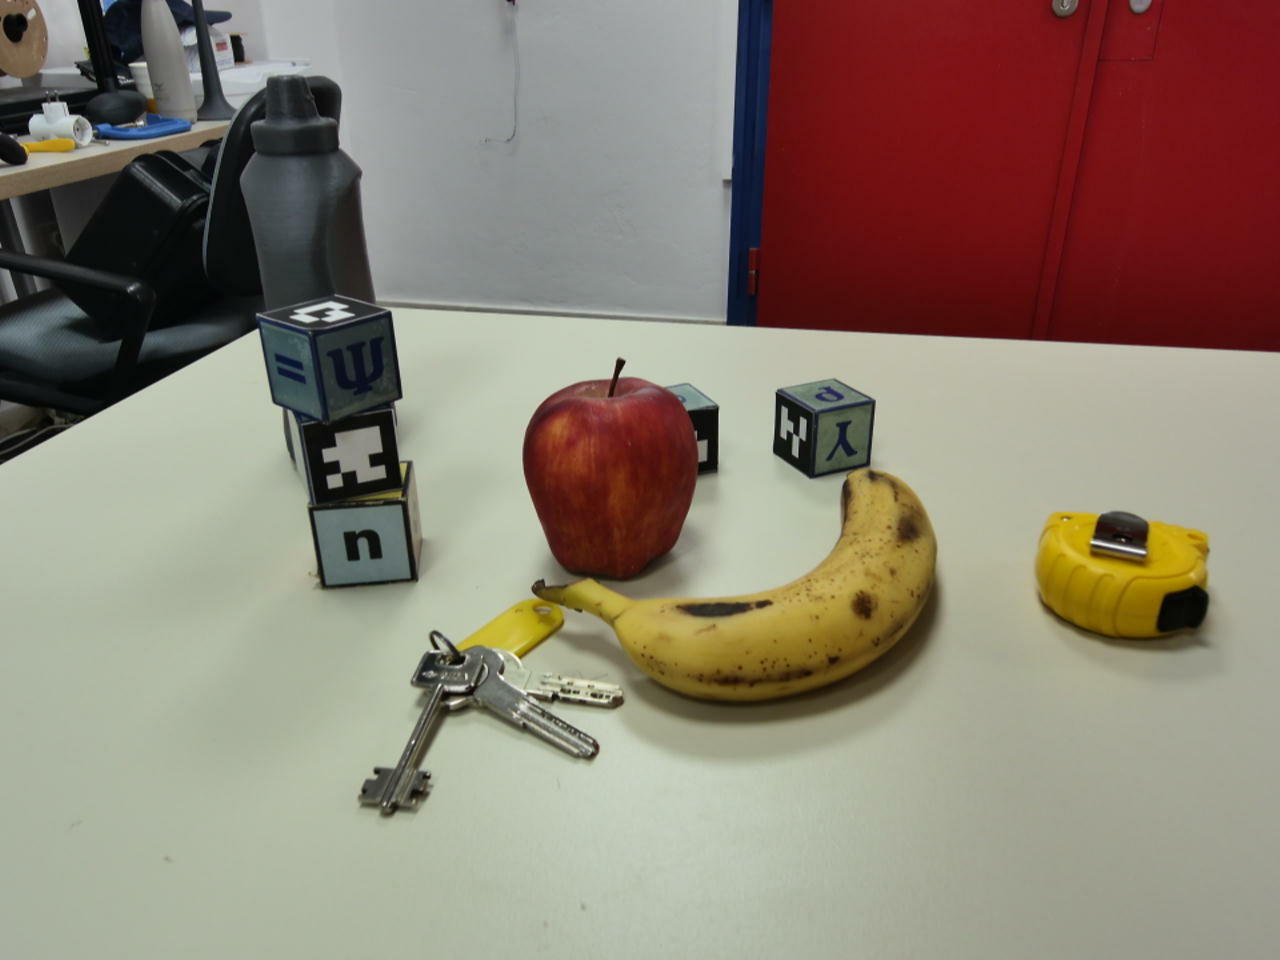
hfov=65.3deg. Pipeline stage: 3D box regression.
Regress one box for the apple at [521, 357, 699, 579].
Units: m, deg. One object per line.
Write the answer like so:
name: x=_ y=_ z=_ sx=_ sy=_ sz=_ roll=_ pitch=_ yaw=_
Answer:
apple: x=-0.013 y=-0.009 z=0.431 sx=0.083 sy=0.090 sz=0.083 roll=-1 pitch=24 yaw=0
